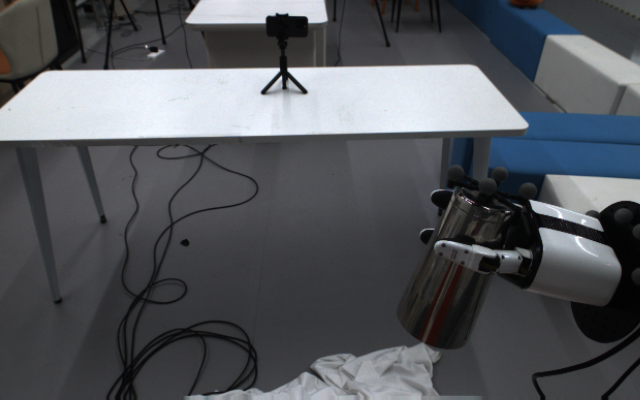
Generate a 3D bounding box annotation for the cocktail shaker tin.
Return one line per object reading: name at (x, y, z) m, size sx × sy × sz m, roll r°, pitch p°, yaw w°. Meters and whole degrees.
cocktail shaker tin at (0.161, 0.070, 0.554) m, size 0.093 × 0.170 × 0.093 m, roll 12°, pitch 25°, yaw -6°
